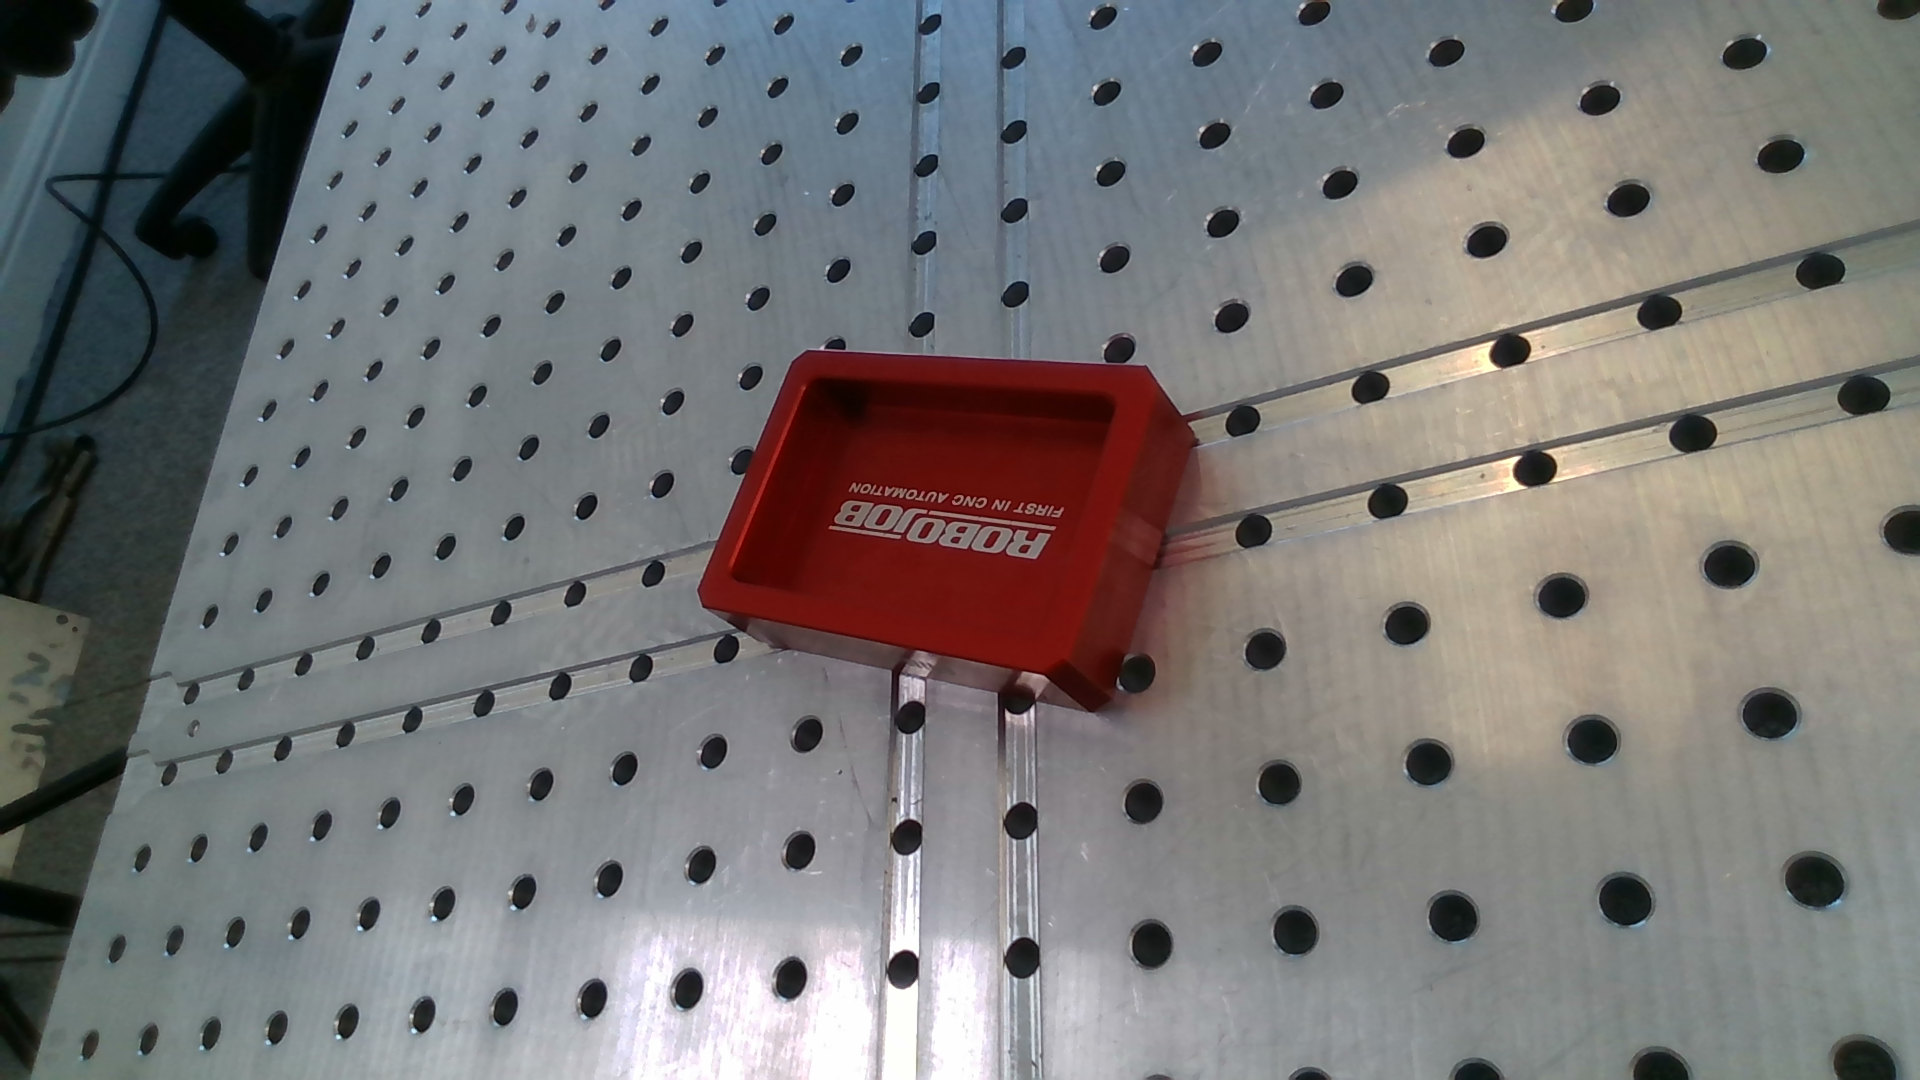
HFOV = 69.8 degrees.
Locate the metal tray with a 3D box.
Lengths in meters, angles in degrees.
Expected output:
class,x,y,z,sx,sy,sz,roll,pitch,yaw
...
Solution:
class,x,y,z,sx,sy,sz,roll,pitch,yaw
metal tray,-0.007,-0.007,0.401,0.130,0.030,0.090,8,70,35
